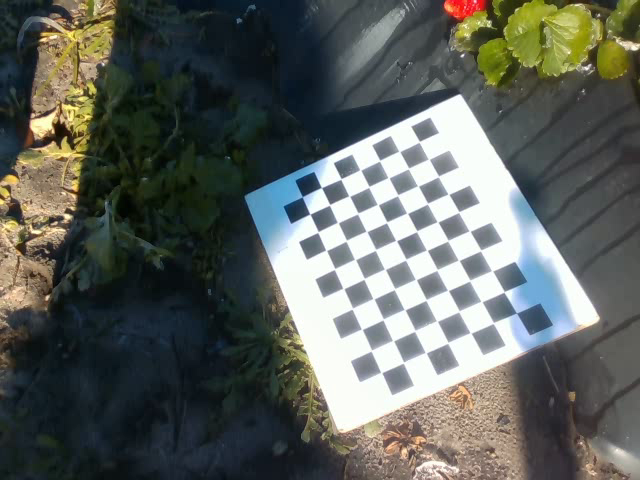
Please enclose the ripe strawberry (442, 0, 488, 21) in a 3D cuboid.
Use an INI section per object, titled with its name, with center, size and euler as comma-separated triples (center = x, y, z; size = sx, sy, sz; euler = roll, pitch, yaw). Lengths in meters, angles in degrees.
[ripe strawberry]
center = 0.131, -0.220, 0.592
size = 0.053, 0.042, 0.047
euler = -14, -29, -34
